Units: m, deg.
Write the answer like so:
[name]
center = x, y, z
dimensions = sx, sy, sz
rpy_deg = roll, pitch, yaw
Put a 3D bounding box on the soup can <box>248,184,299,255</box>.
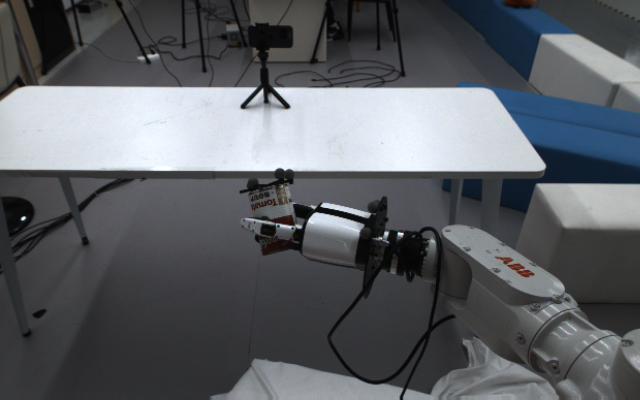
[soup can]
center = -0.071, 0.033, 0.771
dimensions = 0.067, 0.101, 0.067
rpy_deg = -14, -2, -1
